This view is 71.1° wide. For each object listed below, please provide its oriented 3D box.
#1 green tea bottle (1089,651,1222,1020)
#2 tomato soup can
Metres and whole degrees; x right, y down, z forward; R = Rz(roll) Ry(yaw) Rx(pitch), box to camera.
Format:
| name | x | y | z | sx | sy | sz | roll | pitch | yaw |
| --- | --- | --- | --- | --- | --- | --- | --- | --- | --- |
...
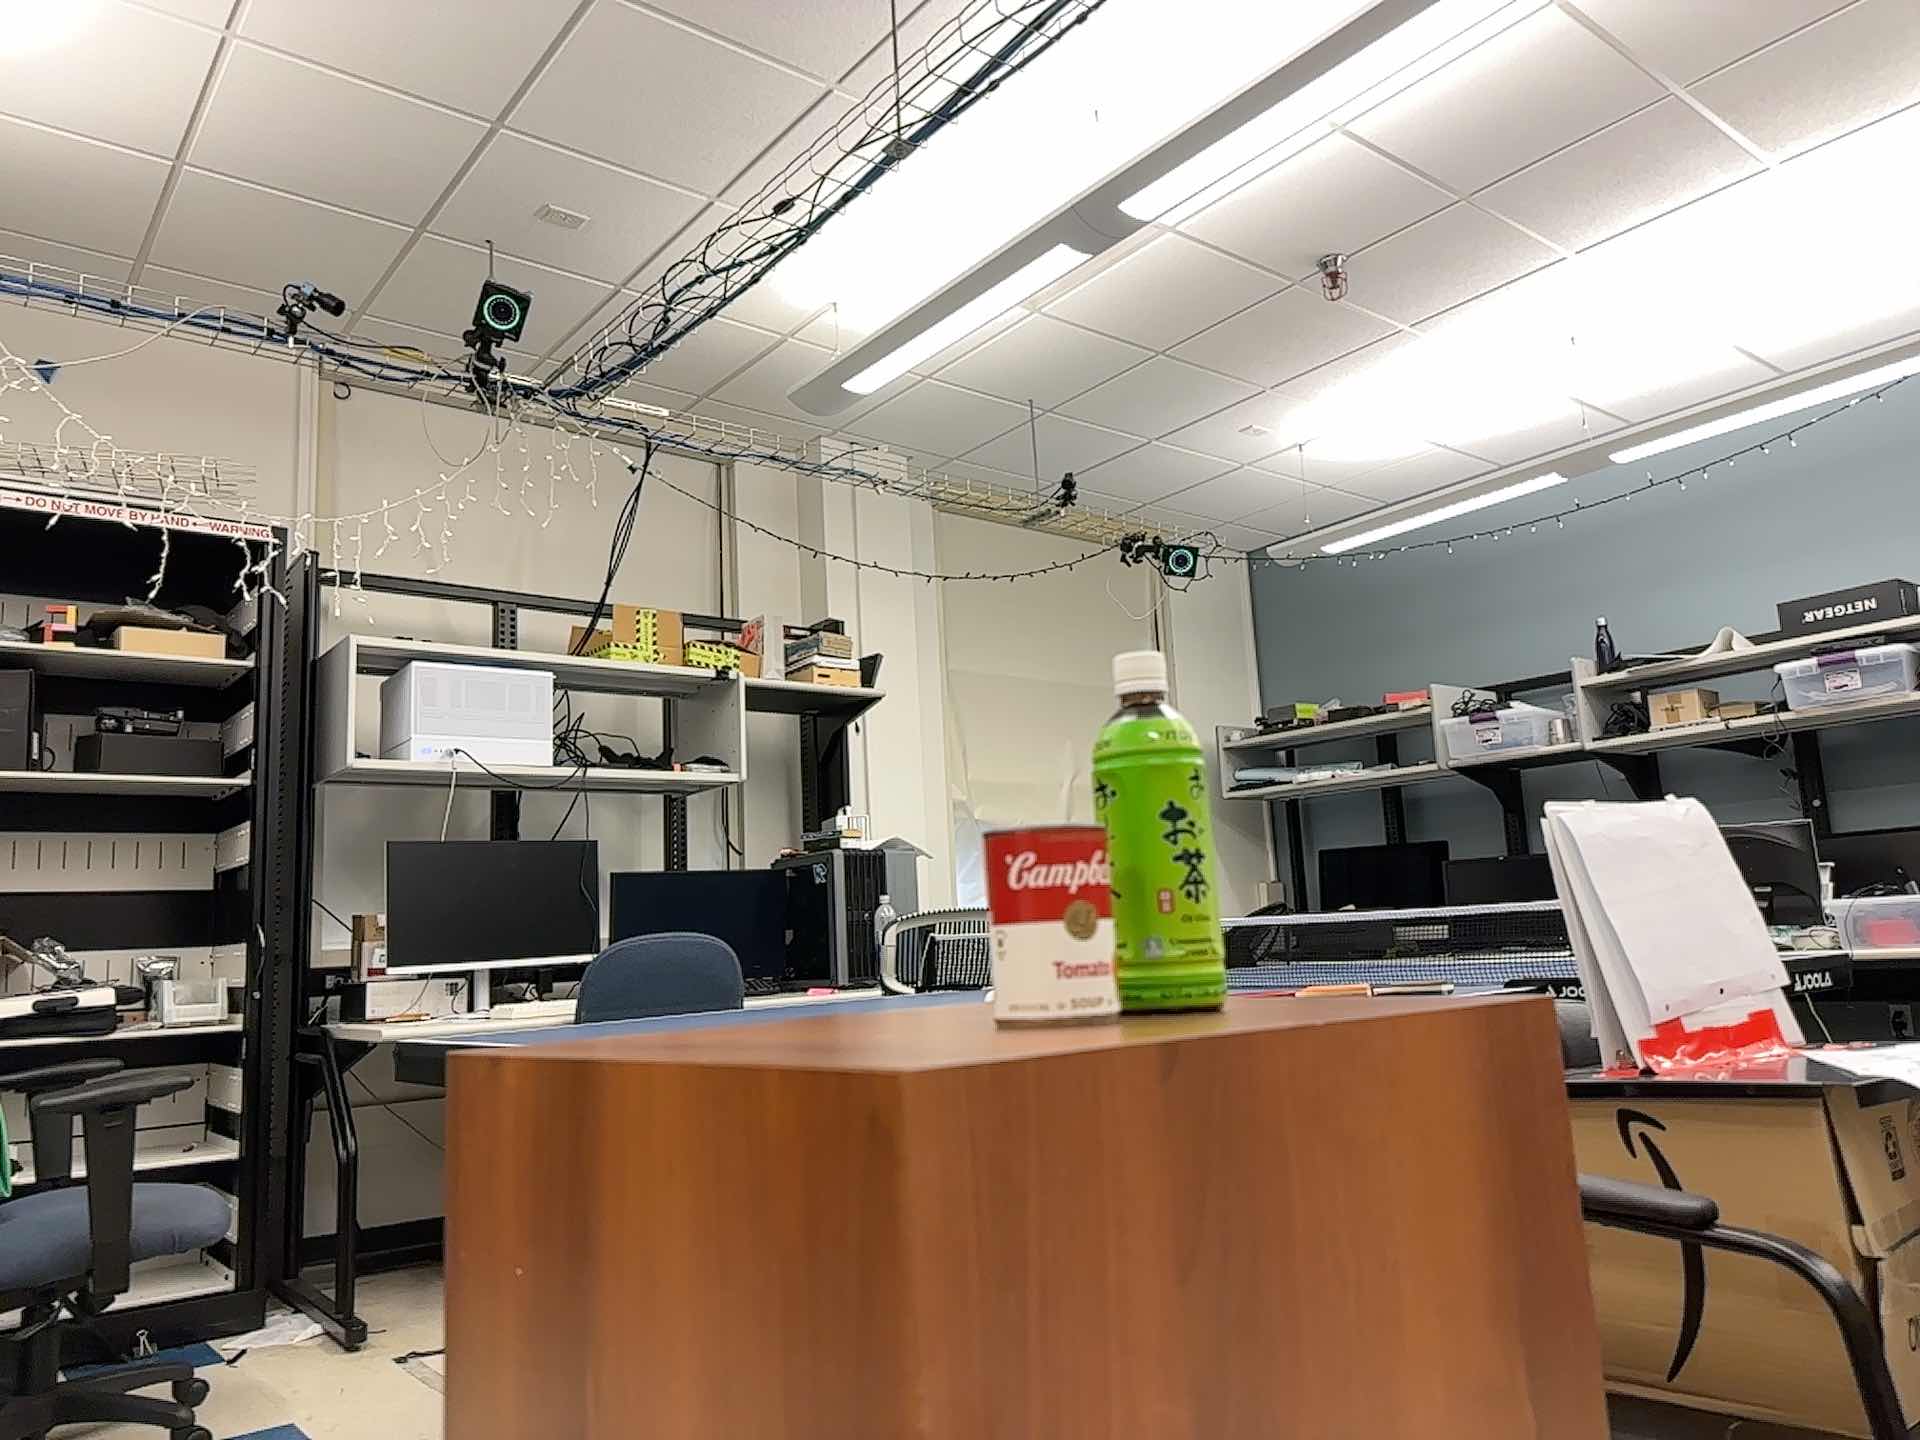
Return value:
| name | x | y | z | sx | sy | sz | roll | pitch | yaw |
| --- | --- | --- | --- | --- | --- | --- | --- | --- | --- |
| green tea bottle | 0.110 | 0.065 | 0.783 | 0.073 | 0.212 | 0.073 | -3 | -7 | 0 |
| tomato soup can | 0.045 | 0.106 | 0.705 | 0.067 | 0.102 | 0.067 | -2 | -9 | 0 |
